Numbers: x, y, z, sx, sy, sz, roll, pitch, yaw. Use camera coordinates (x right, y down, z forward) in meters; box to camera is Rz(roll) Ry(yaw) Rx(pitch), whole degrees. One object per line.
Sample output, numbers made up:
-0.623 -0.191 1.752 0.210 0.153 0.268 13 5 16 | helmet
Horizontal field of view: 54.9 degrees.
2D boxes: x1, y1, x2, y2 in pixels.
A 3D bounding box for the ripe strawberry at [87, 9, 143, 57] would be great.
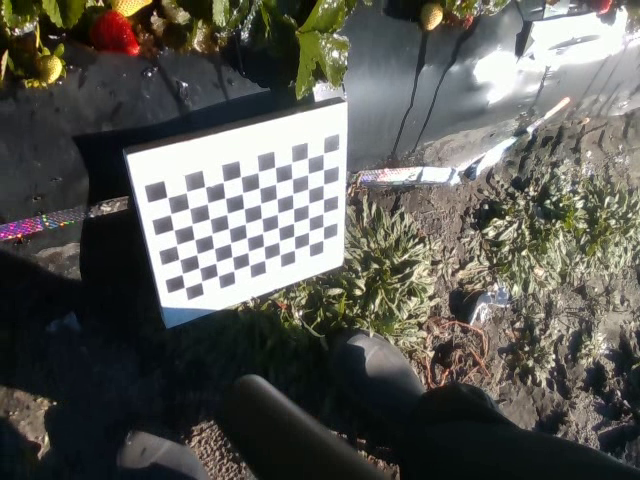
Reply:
-0.182 -0.182 0.552 0.053 0.040 0.042 41 -1 18 | ripe strawberry
